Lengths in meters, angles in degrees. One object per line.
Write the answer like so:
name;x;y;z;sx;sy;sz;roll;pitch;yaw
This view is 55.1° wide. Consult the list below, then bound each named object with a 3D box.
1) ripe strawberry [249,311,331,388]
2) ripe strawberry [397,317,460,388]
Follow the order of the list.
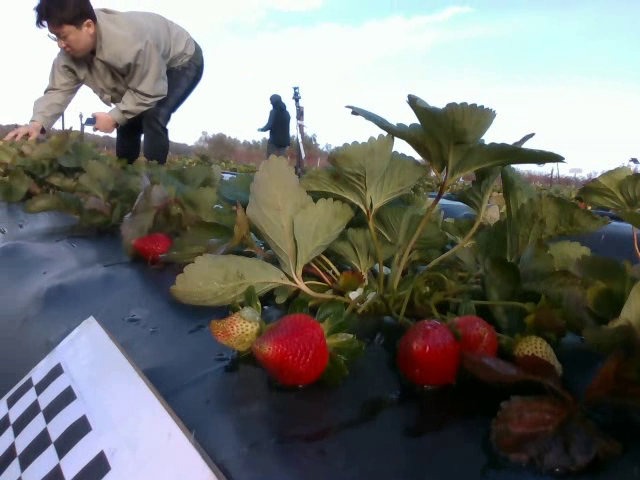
ripe strawberry;-0.023;0.065;0.375;0.050;0.050;0.065;-23;-26;28
ripe strawberry;0.061;0.068;0.360;0.044;0.042;0.055;-34;-25;7
